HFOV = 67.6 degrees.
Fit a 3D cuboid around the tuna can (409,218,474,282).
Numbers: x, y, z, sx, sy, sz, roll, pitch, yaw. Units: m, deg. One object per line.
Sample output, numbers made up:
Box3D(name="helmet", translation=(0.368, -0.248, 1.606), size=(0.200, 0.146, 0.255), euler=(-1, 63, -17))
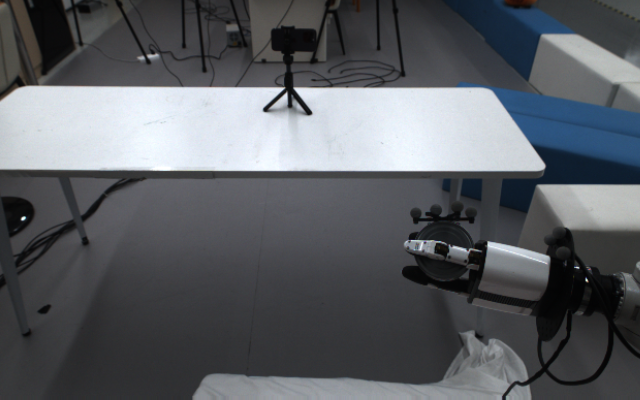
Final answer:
Box3D(name="tuna can", translation=(0.181, 0.073, 0.706), size=(0.085, 0.034, 0.085), euler=(-5, 70, 15))
